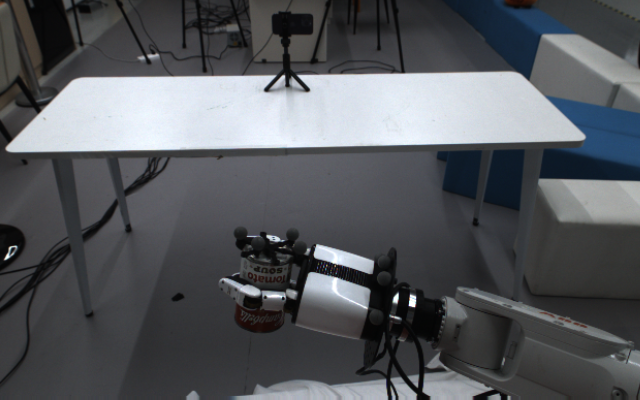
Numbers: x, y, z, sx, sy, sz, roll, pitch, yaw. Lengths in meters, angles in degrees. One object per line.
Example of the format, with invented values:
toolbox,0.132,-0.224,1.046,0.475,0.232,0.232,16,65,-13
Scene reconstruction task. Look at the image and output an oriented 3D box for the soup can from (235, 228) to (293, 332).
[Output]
soup can,-0.073,0.112,0.632,0.067,0.101,0.067,8,19,-3
